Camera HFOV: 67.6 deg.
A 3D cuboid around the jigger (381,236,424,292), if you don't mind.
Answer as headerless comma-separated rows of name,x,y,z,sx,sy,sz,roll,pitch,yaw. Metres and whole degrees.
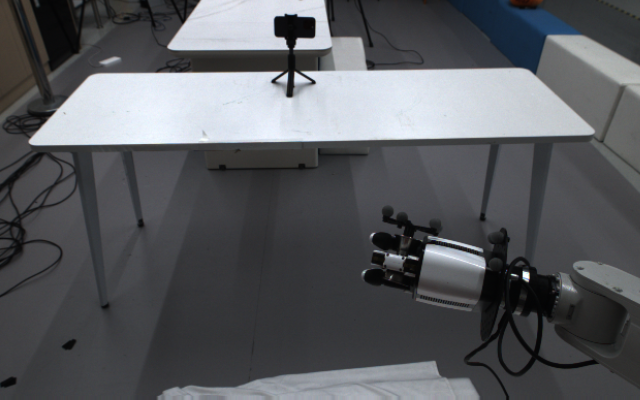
jigger,0.122,0.087,0.706,0.043,0.071,0.043,16,-7,2
